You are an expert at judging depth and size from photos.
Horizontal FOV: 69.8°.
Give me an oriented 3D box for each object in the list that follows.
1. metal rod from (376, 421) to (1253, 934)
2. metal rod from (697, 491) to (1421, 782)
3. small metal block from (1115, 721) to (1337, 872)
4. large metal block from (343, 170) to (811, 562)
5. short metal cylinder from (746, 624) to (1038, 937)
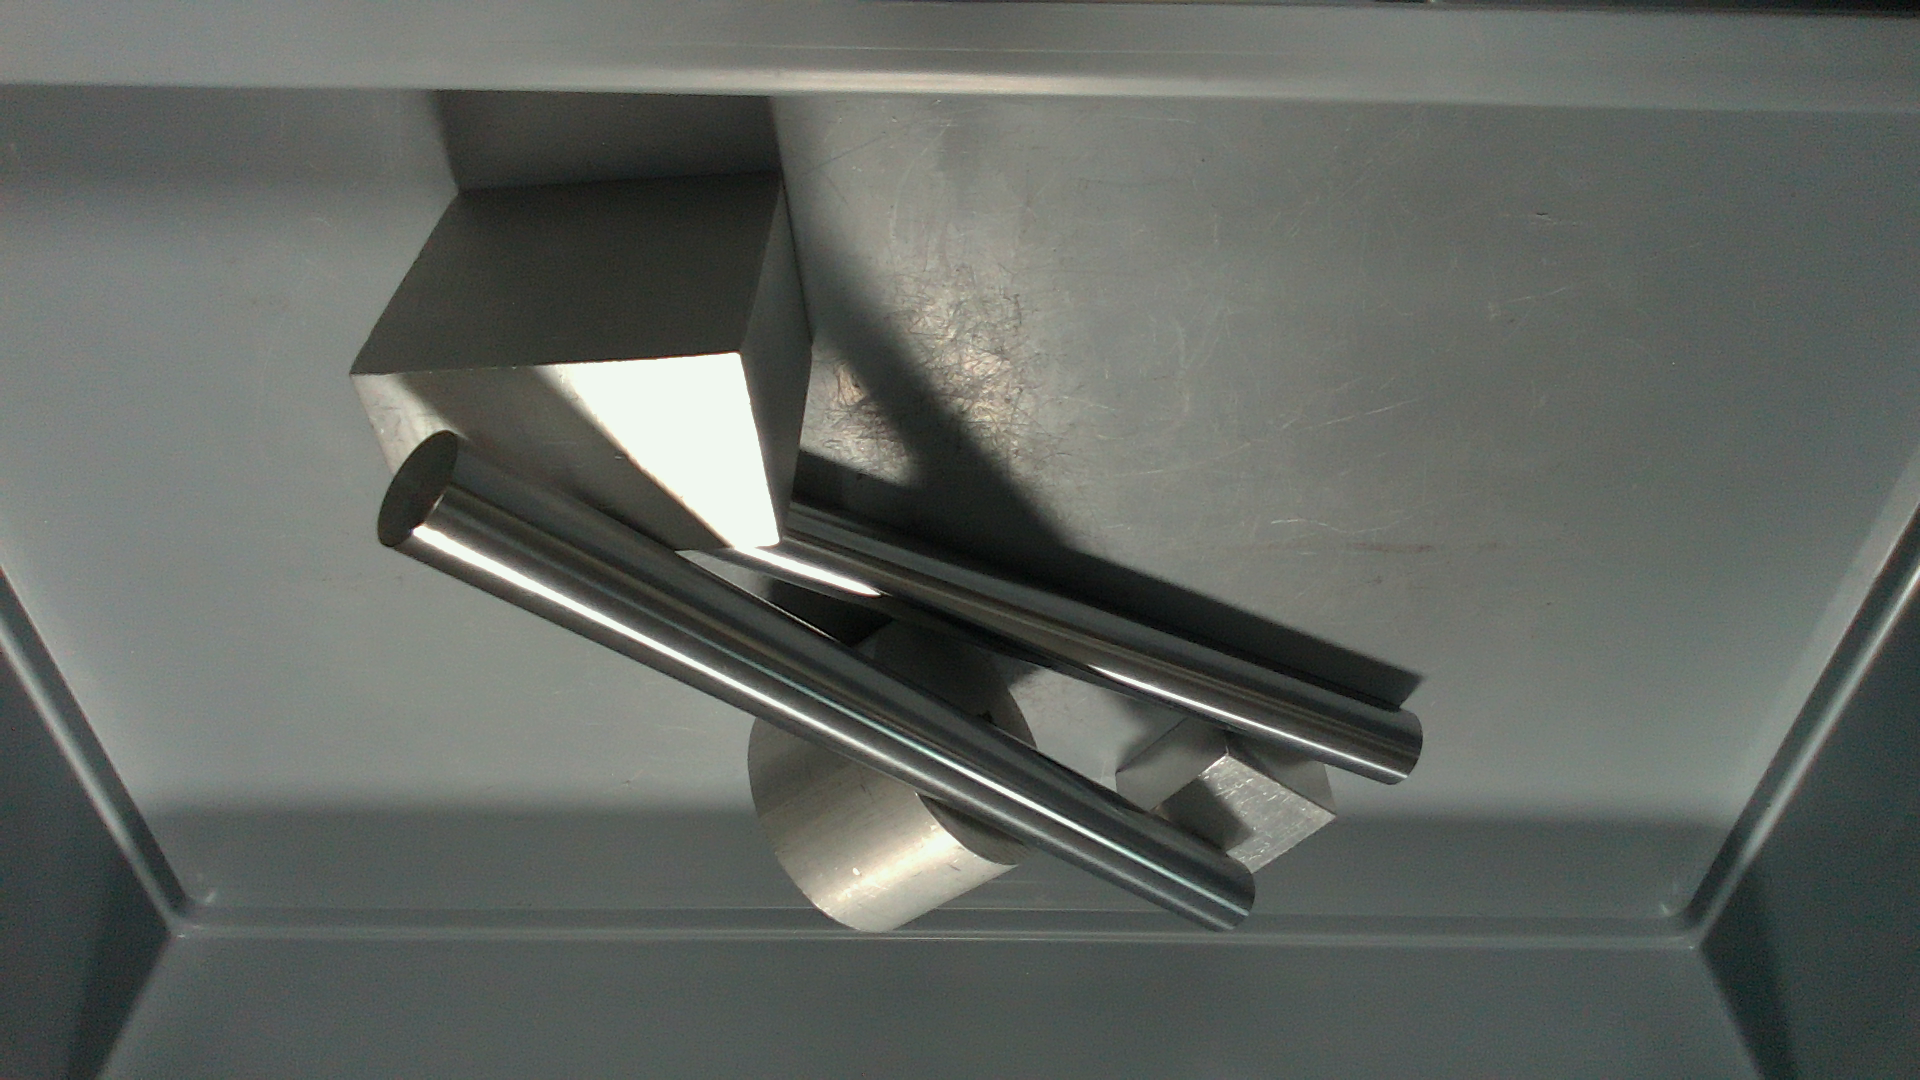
[{"bbox_3d":[-0.009,0.053,0.358,0.025,0.025,0.301,-33,135,25],"label":"metal rod"},{"bbox_3d":[0.005,0.018,0.405,0.301,0.025,0.025,20,127,-16],"label":"metal rod"},{"bbox_3d":[0.088,0.086,0.462,0.050,0.025,0.050,31,124,-23],"label":"small metal block"},{"bbox_3d":[-0.081,-0.042,0.318,0.080,0.080,0.050,-3,130,2],"label":"large metal block"},{"bbox_3d":[-0.017,0.071,0.412,0.050,0.080,0.080,-33,123,25],"label":"short metal cylinder"}]
